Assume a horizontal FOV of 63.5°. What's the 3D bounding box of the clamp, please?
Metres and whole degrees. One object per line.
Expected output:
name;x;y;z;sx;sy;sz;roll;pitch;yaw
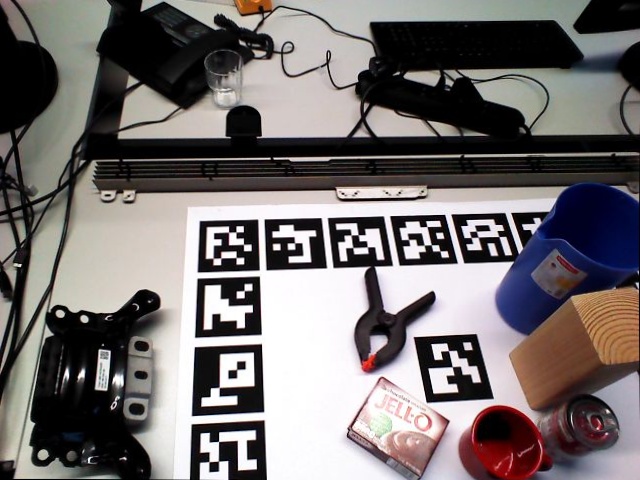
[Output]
clamp;0.112;0.121;0.793;0.122;0.037;0.164;28;61;6

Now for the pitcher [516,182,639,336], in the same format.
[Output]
pitcher;0.372;0.043;0.725;0.189;0.243;0.132;-2;55;-1

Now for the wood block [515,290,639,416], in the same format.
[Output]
wood block;0.350;0.153;0.672;0.090;0.207;0.090;-1;57;-8

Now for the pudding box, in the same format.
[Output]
pudding box;0.096;0.253;0.702;0.114;0.039;0.089;32;65;18

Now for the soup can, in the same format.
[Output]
soup can;0.333;0.257;0.667;0.068;0.102;0.067;1;60;-2

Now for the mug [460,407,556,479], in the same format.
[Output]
mug;0.240;0.280;0.662;0.117;0.082;0.092;30;59;17
